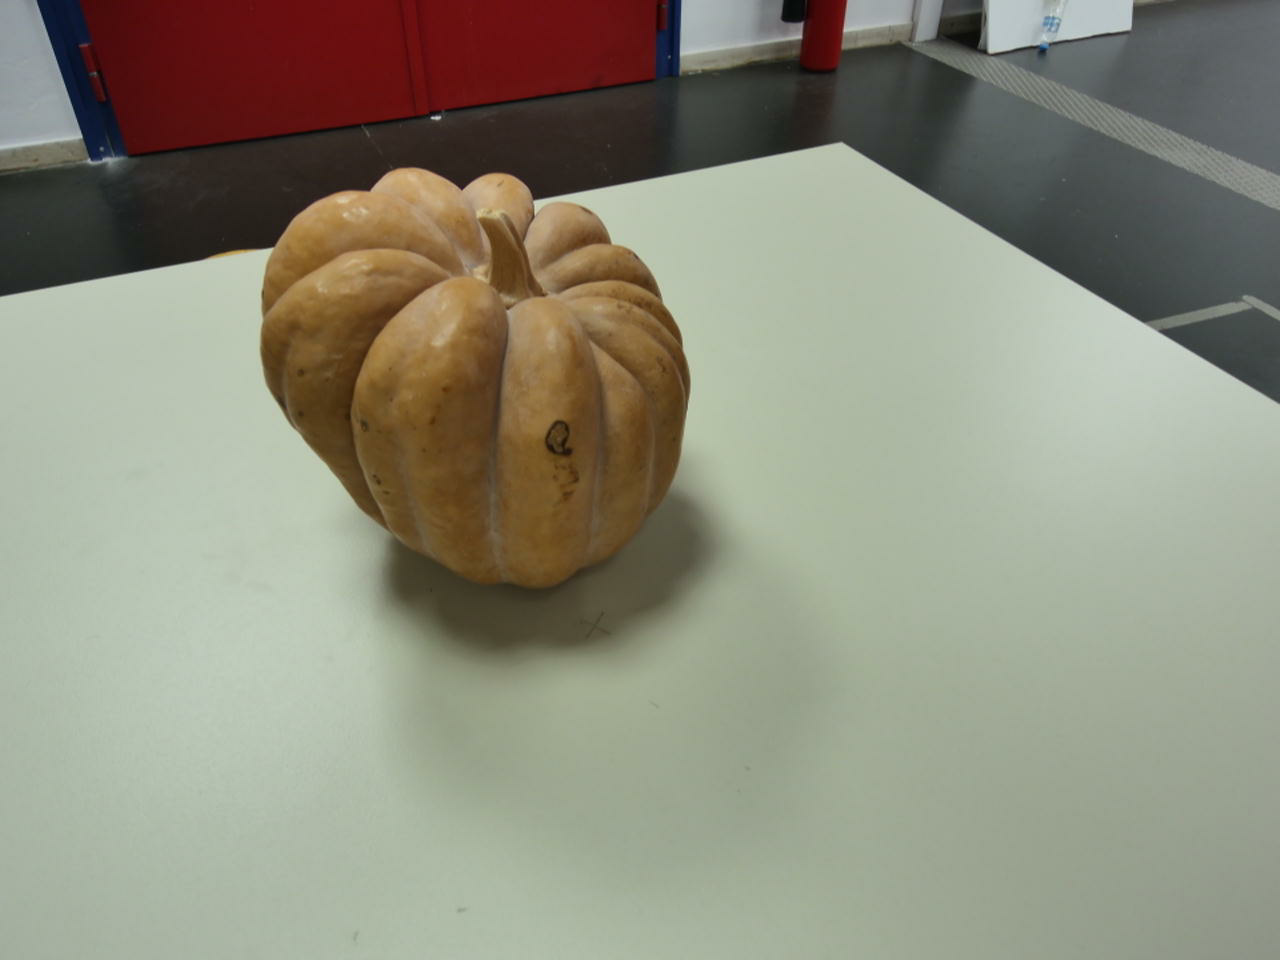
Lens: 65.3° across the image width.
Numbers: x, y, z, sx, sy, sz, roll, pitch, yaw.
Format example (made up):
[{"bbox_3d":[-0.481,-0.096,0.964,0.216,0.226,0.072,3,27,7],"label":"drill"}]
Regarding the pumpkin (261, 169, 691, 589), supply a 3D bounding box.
[{"bbox_3d":[-0.071,-0.046,0.462,0.199,0.177,0.198,0,38,0],"label":"pumpkin"}]
